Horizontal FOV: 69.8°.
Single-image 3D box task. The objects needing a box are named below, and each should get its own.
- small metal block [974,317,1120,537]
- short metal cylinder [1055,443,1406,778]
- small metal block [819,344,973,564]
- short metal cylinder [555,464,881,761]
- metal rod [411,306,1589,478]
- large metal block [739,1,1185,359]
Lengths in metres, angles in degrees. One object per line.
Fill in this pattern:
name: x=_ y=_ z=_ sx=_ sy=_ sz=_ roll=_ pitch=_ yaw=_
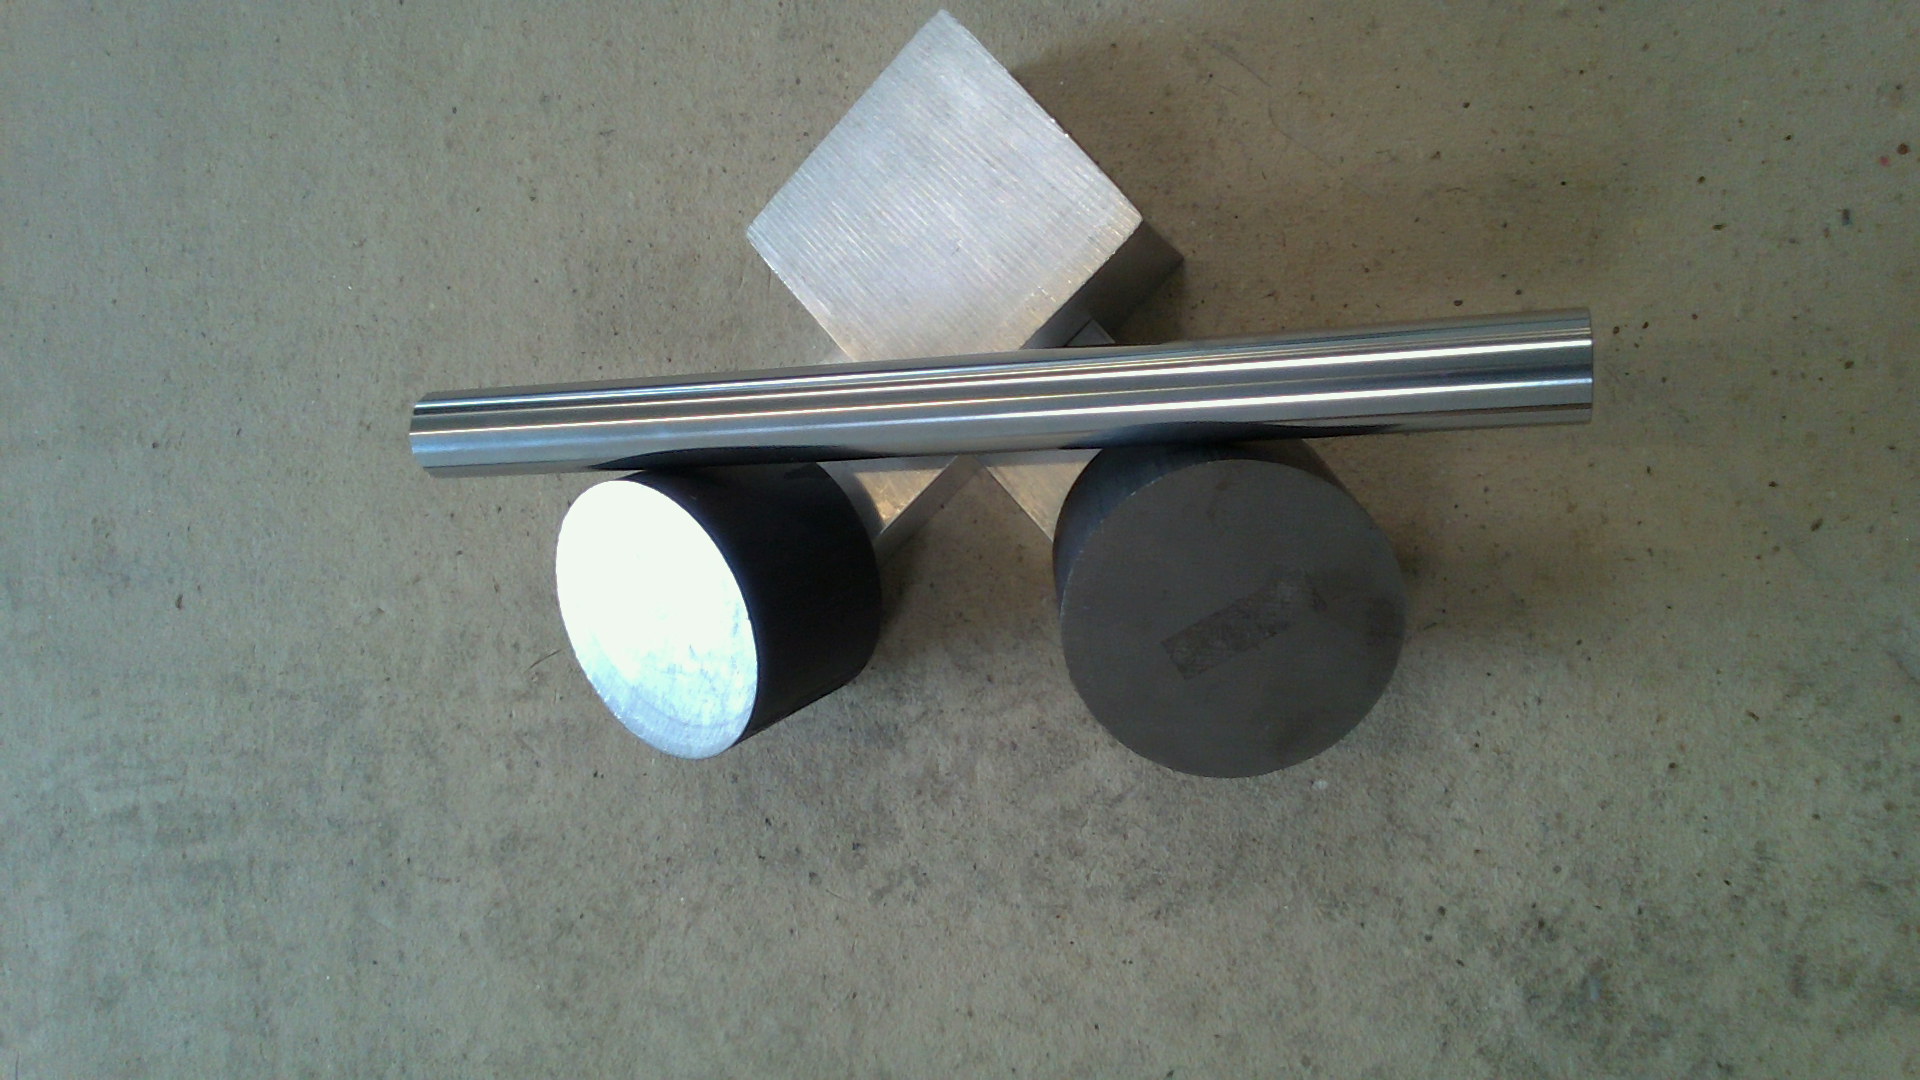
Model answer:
small metal block: x=0.039 y=-0.025 z=0.382 sx=0.050 sy=0.025 sz=0.050 roll=-45 pitch=76 yaw=14
short metal cylinder: x=0.064 y=0.012 z=0.345 sx=0.080 sy=0.050 sz=0.080 roll=0 pitch=108 yaw=1
small metal block: x=-0.028 y=-0.026 z=0.406 sx=0.050 sy=0.025 sz=0.050 roll=-45 pitch=76 yaw=13
short metal cylinder: x=-0.069 y=0.016 z=0.392 sx=0.080 sy=0.050 sz=0.080 roll=15 pitch=116 yaw=34
metal rod: x=-0.008 y=-0.034 z=0.344 sx=0.299 sy=0.025 sz=0.025 roll=-1 pitch=90 yaw=20
large metal block: x=0.001 y=-0.083 z=0.380 sx=0.080 sy=0.050 sz=0.080 roll=-44 pitch=76 yaw=15
